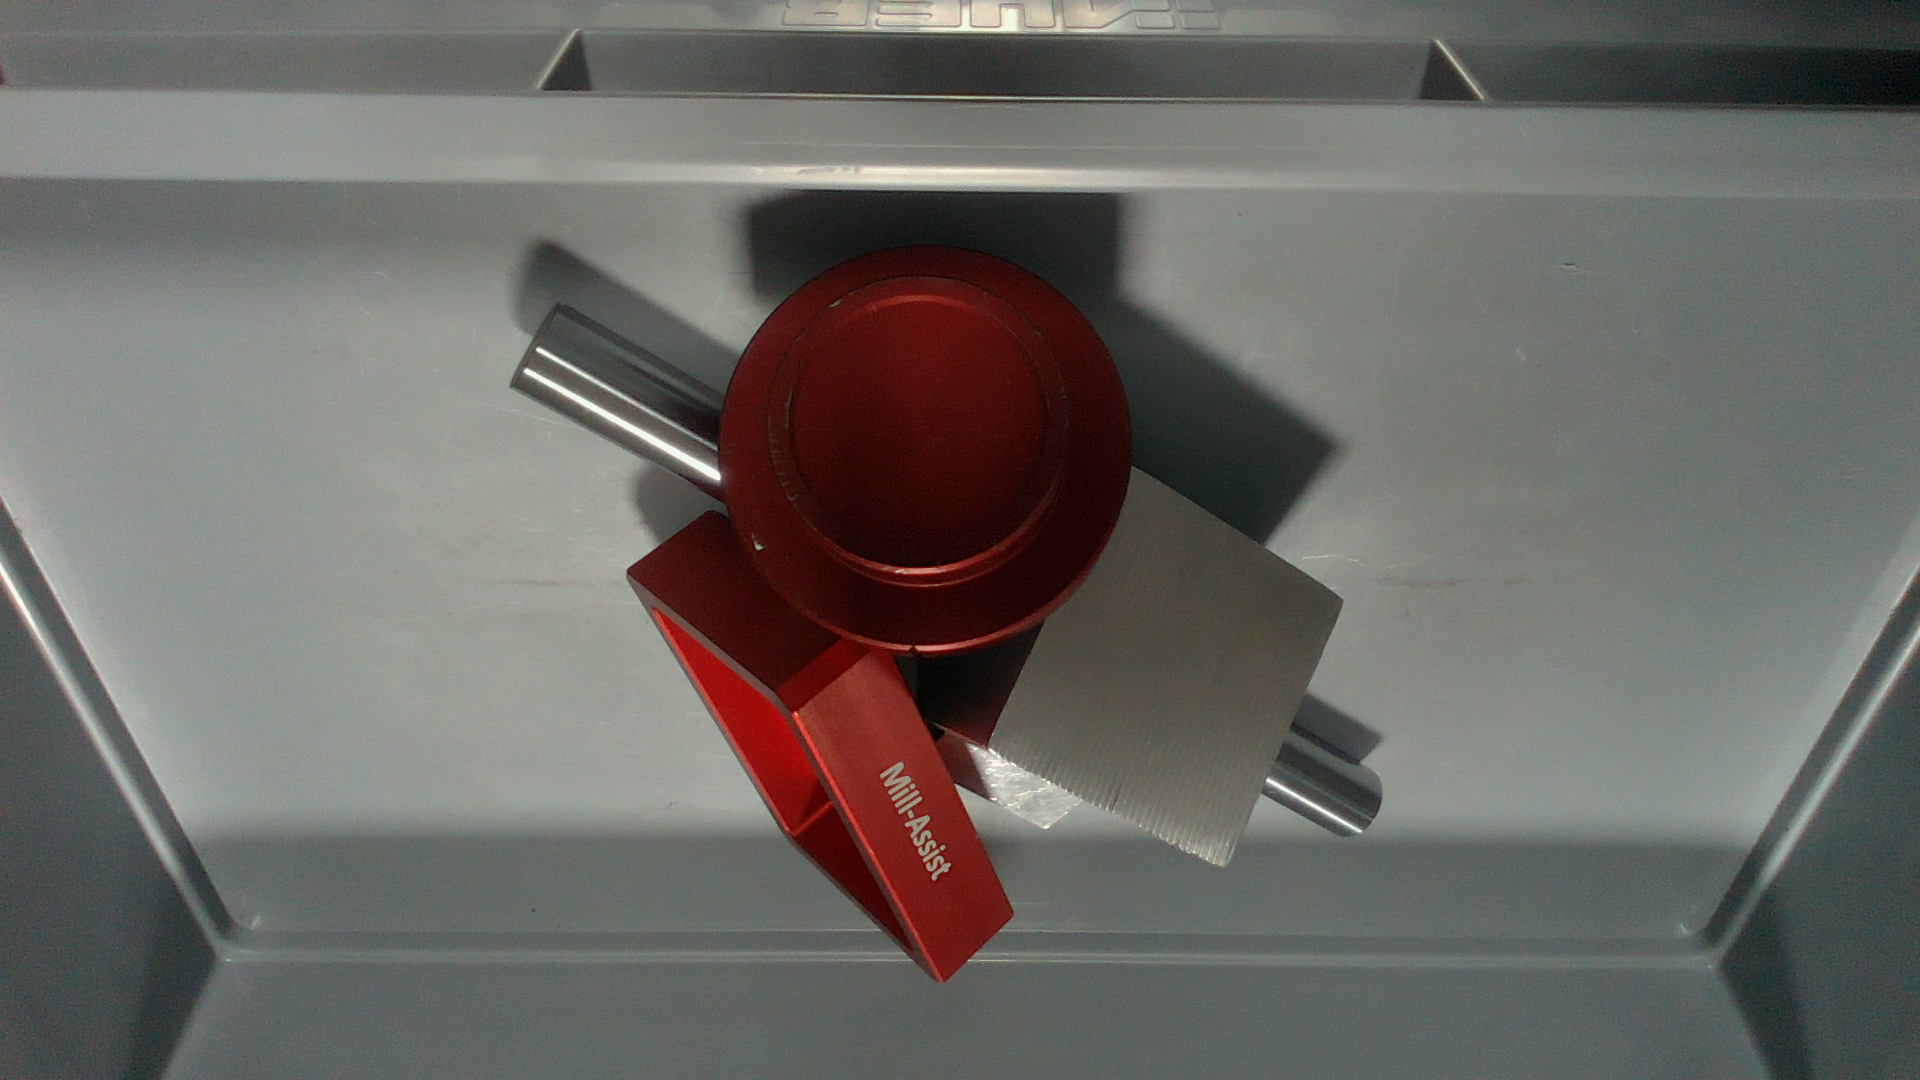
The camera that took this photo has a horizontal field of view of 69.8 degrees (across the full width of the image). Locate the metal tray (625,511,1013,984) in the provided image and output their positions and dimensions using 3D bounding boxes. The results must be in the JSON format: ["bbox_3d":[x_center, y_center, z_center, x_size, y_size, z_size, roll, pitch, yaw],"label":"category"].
[{"bbox_3d":[-0.040,0.061,0.400,0.030,0.090,0.130,-39,131,-21],"label":"metal tray"}]

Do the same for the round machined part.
[{"bbox_3d":[-0.008,-0.022,0.320,0.098,0.098,0.042,-1,171,1],"label":"round machined part"}]

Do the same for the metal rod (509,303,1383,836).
[{"bbox_3d":[0.012,0.020,0.406,0.301,0.025,0.025,30,124,-23],"label":"metal rod"}]

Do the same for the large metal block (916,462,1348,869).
[{"bbox_3d":[0.045,0.031,0.373,0.080,0.050,0.080,30,81,-23],"label":"large metal block"}]

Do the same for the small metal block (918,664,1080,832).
[{"bbox_3d":[0.014,0.052,0.417,0.050,0.050,0.025,31,124,-23],"label":"small metal block"}]
